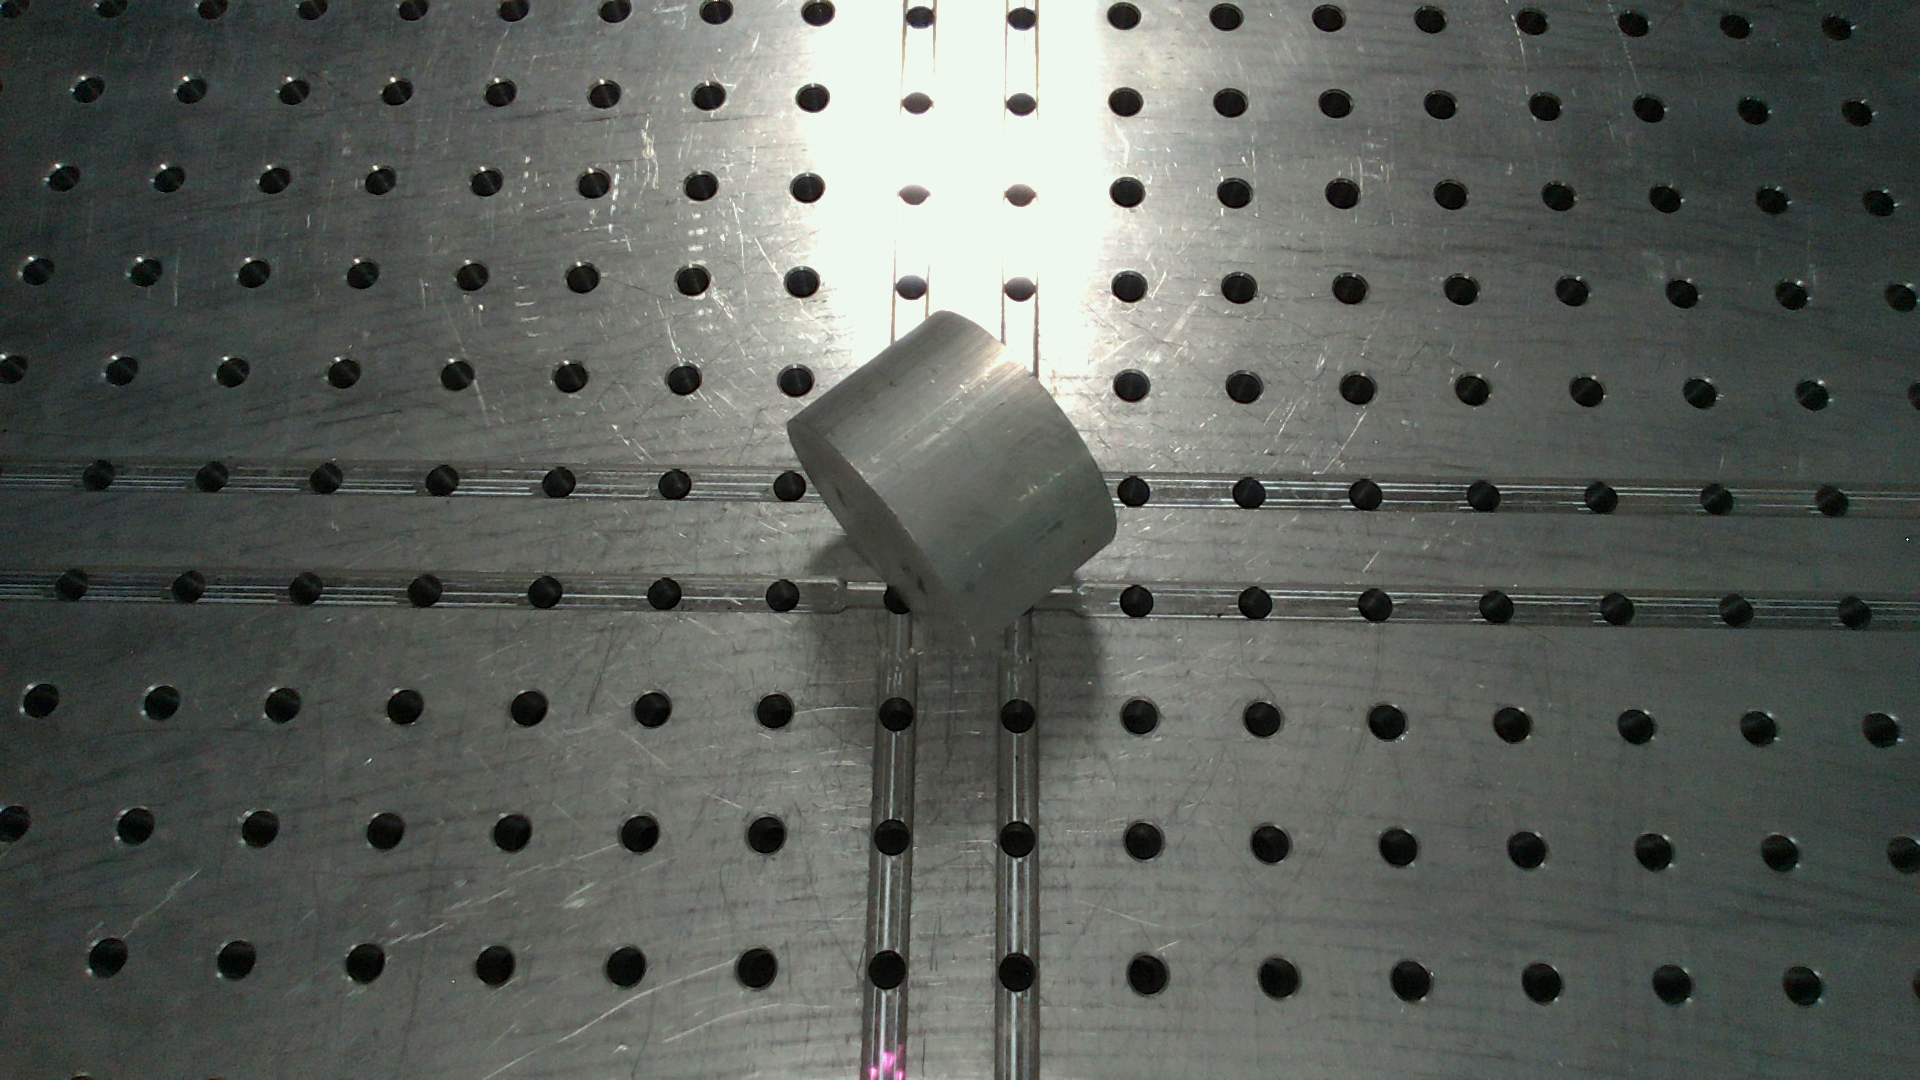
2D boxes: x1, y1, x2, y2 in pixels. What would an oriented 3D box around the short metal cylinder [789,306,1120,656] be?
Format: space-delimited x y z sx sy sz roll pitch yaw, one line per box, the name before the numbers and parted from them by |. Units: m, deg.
short metal cylinder | -0.002 -0.016 0.373 0.050 0.080 0.080 -39 74 -13
